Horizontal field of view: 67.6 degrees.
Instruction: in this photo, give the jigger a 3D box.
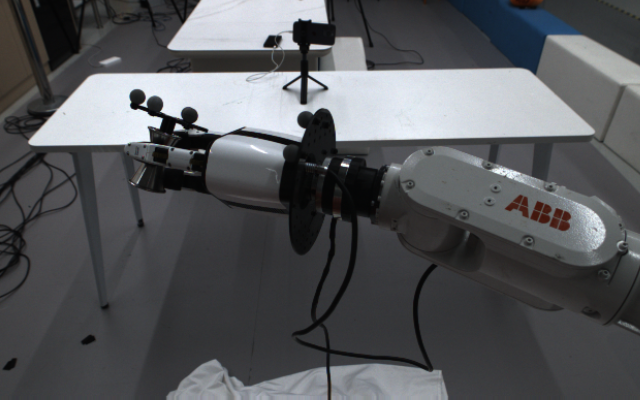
[{"bbox_3d":[-0.190,-0.046,0.560,0.043,0.071,0.043,21,6,-2],"label":"jigger"}]
